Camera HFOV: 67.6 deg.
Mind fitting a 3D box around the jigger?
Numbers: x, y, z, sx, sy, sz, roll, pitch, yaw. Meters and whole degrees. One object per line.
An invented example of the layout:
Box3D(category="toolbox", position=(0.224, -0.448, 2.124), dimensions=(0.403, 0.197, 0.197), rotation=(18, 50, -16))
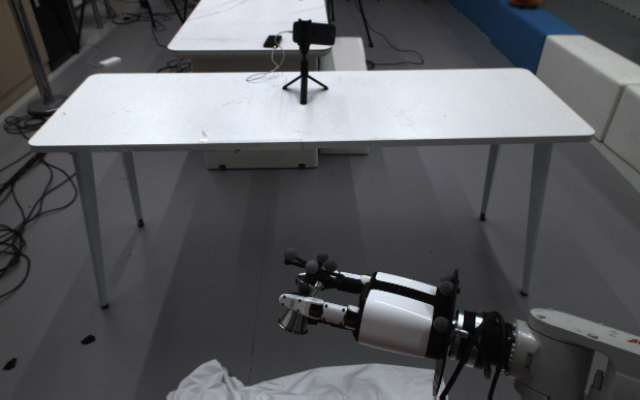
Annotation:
Box3D(category="jigger", position=(-0.026, 0.137, 0.644), dimensions=(0.043, 0.071, 0.043), rotation=(22, 6, -2))
